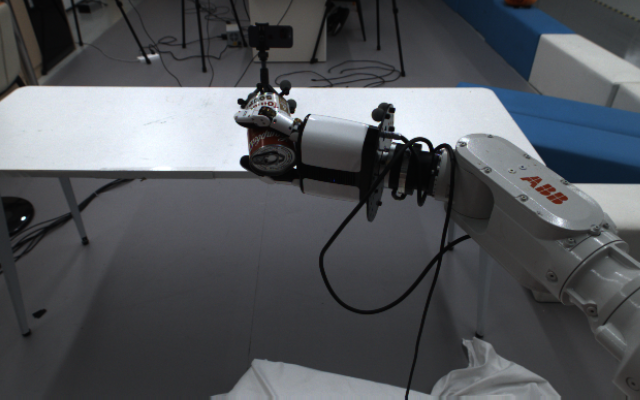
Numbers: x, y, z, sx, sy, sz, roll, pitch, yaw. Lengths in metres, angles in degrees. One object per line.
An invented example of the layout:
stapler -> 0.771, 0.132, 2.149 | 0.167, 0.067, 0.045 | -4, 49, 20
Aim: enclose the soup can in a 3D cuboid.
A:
soup can -> -0.070, -0.094, 0.693 | 0.067, 0.067, 0.101 | -5, 57, -10
